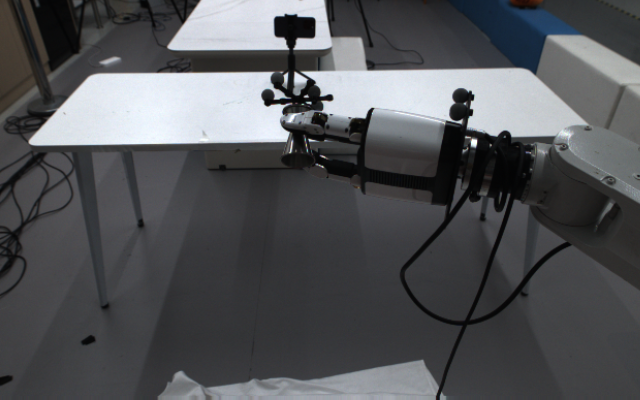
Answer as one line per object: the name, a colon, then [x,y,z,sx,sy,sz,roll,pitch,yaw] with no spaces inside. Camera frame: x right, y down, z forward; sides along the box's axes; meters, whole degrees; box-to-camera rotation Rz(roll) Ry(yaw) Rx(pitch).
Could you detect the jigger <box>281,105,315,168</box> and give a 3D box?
jigger: [-0.027,-0.081,0.597,0.043,0.043,0.071,1,70,-2]
